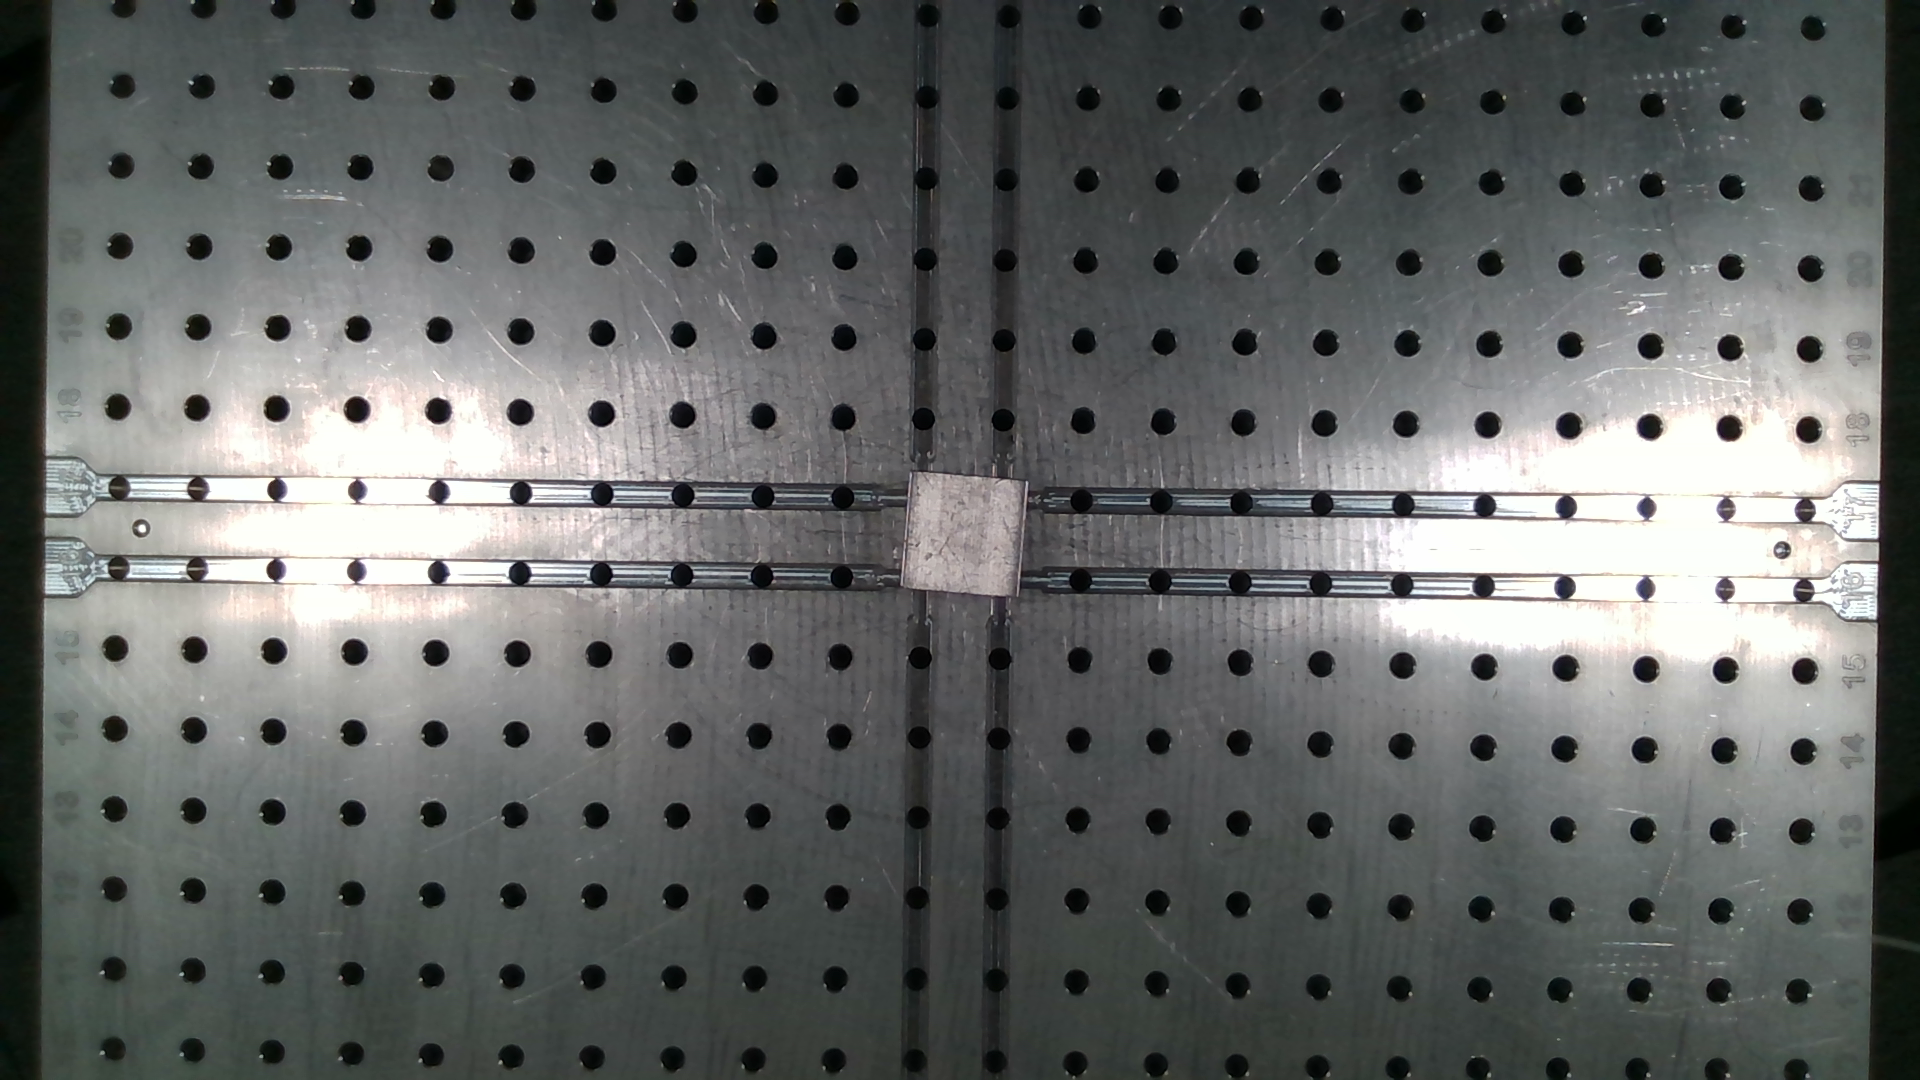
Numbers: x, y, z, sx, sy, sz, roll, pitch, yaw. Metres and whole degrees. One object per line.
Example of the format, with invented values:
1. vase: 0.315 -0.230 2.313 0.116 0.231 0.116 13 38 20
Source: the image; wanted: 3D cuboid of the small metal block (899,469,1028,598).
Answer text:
1. small metal block: 0.002 -0.003 0.589 0.050 0.025 0.050 5 90 0
